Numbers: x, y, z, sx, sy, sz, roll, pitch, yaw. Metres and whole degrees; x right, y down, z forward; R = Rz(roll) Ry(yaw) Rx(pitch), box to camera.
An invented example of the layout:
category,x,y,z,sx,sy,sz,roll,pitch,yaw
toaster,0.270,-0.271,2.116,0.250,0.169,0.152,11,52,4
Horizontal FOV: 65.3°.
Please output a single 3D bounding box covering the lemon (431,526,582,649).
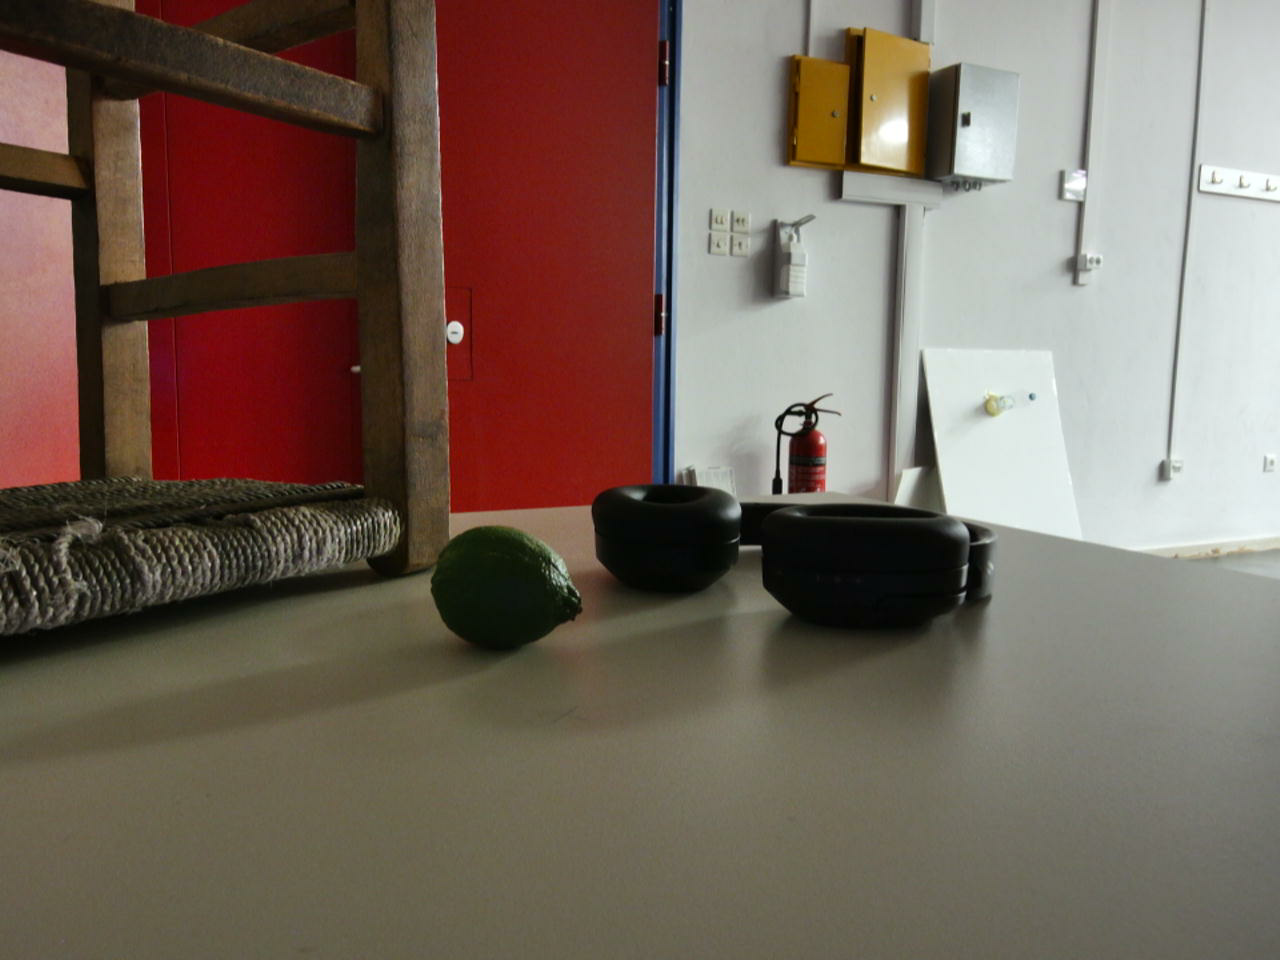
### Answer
category,x,y,z,sx,sy,sz,roll,pitch,yaw
lemon,-0.059,0.044,0.423,0.057,0.051,0.054,-2,4,-30
